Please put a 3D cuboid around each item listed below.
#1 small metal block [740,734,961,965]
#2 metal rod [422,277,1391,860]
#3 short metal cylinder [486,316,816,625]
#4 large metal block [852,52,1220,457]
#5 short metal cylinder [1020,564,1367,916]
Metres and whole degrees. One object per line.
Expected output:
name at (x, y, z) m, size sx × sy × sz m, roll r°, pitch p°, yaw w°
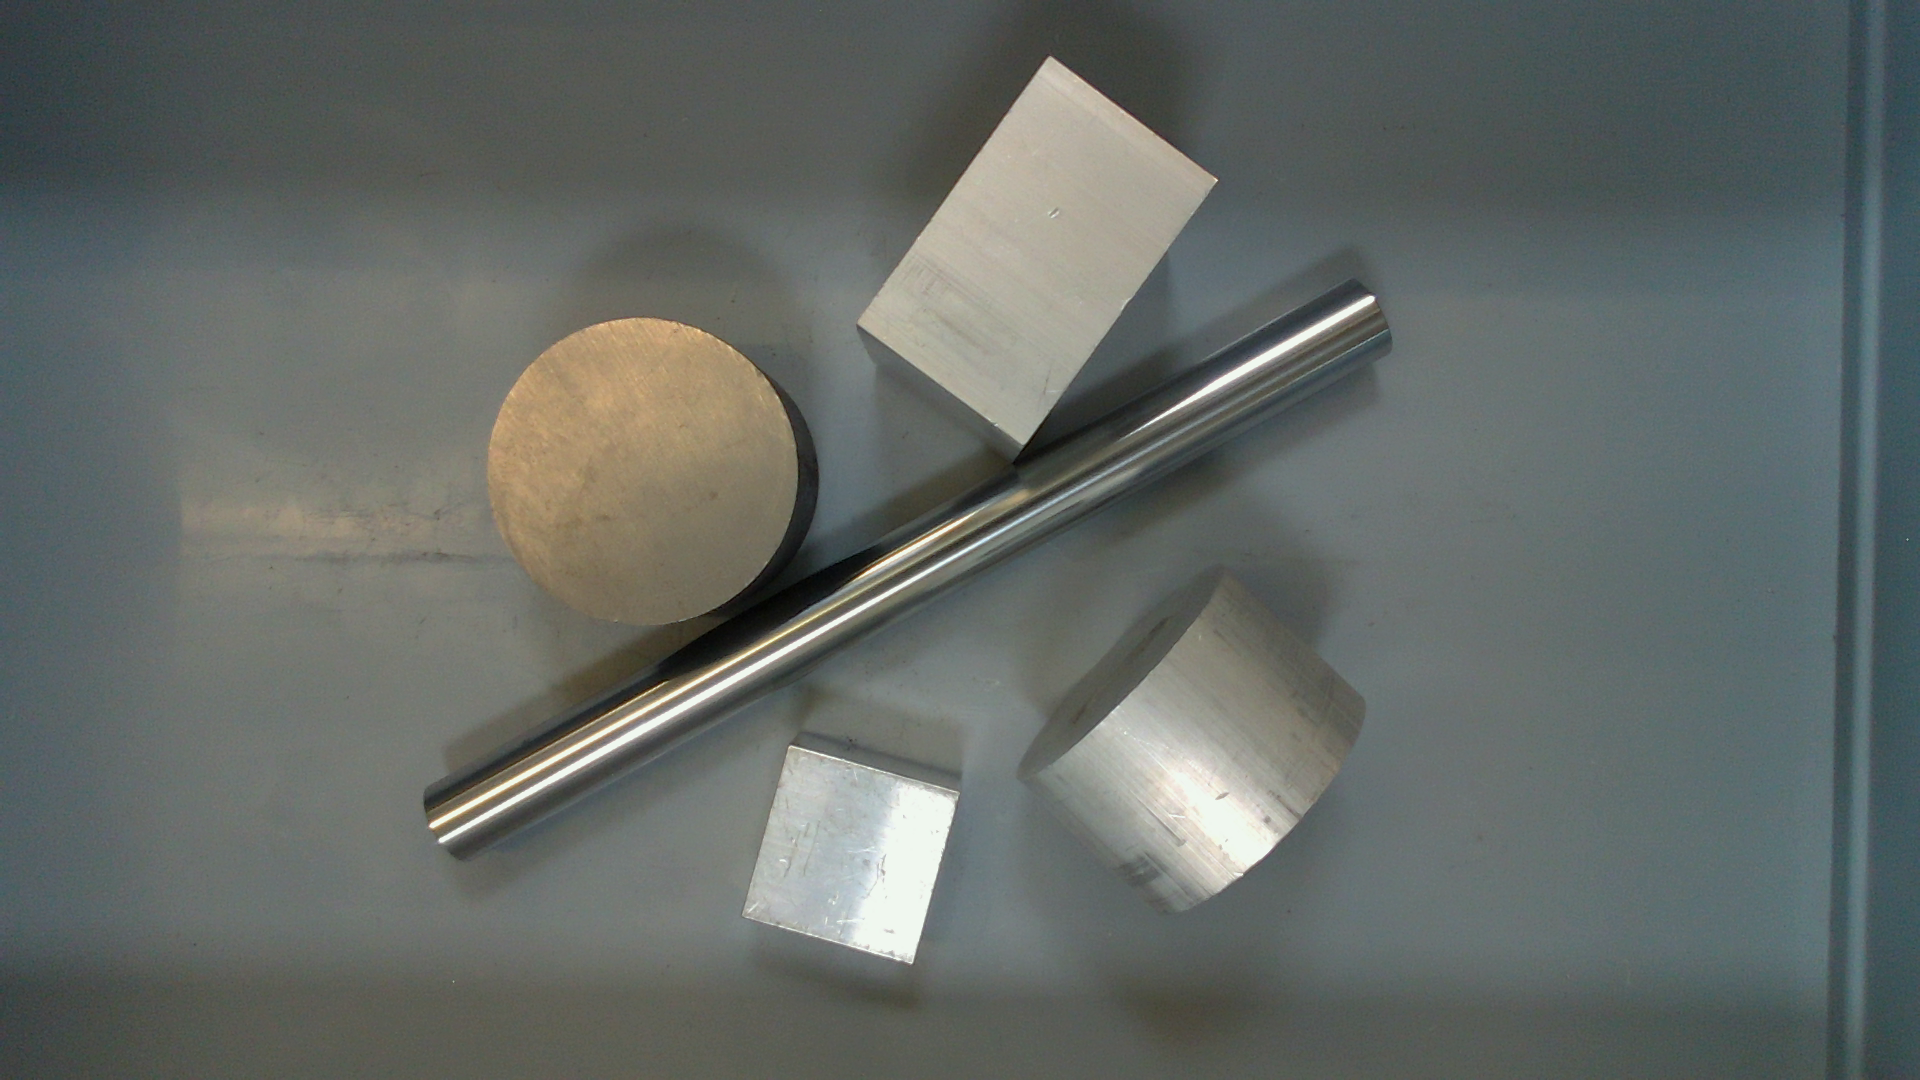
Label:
small metal block at (-0.030, 0.087, 0.394) m, size 0.050 × 0.025 × 0.050 m, roll 15°, pitch 90°, yaw 0°
metal rod at (-0.015, 0.008, 0.394) m, size 0.300 × 0.025 × 0.025 m, roll -29°, pitch 90°, yaw 0°
short metal cylinder at (-0.083, -0.018, 0.381) m, size 0.080 × 0.050 × 0.080 m, roll 0°, pitch 90°, yaw 0°
large metal block at (0.018, -0.069, 0.367) m, size 0.050 × 0.080 × 0.080 m, roll 36°, pitch 90°, yaw 0°
short metal cylinder at (0.061, 0.052, 0.367) m, size 0.050 × 0.080 × 0.080 m, roll 43°, pitch 90°, yaw -1°
